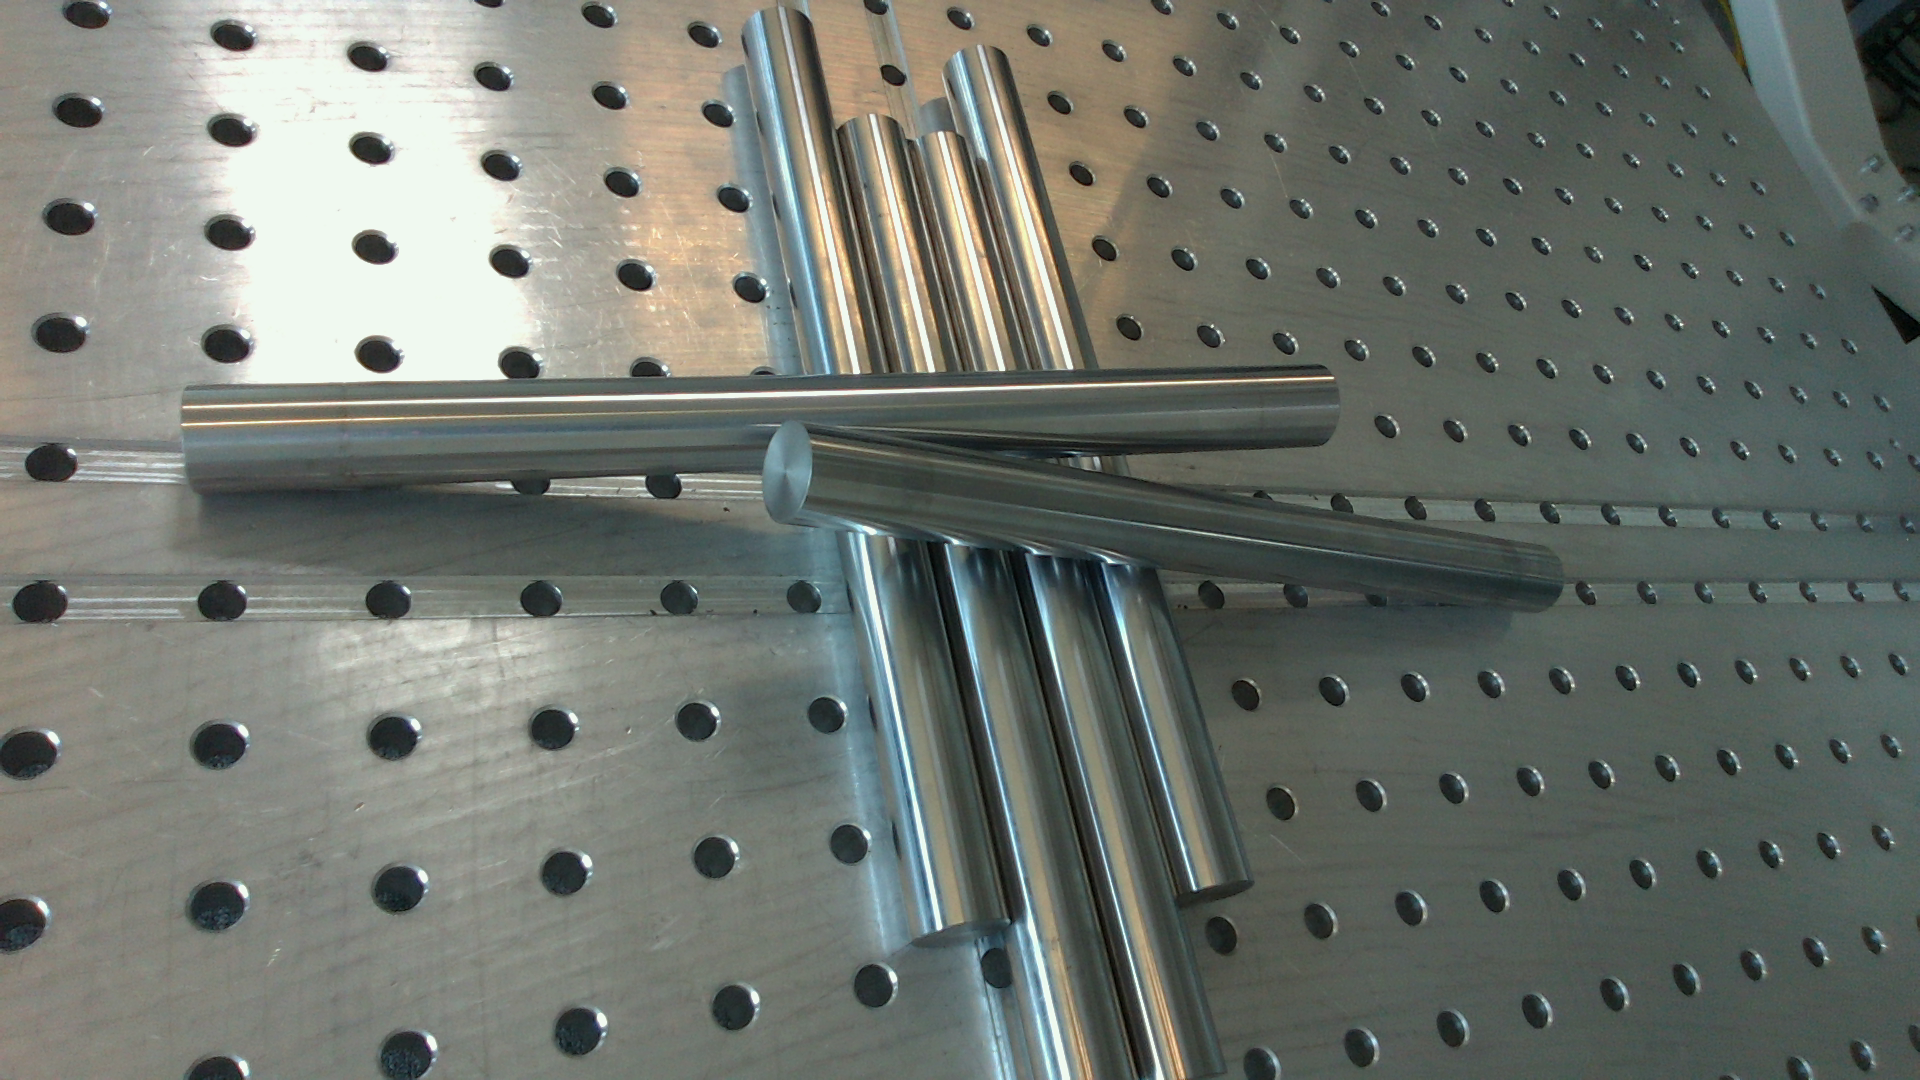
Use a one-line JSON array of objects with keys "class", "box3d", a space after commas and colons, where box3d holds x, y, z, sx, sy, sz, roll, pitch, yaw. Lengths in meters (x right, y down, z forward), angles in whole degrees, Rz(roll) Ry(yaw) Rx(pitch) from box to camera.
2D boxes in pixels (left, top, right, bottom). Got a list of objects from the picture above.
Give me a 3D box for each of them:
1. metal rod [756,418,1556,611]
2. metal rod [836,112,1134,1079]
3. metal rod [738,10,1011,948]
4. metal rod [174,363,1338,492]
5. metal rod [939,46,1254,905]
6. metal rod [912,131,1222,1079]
[{"class": "metal rod", "box3d": [0.080, -0.001, 0.410, 0.301, 0.025, 0.025, 7, 58, -35]}, {"class": "metal rod", "box3d": [-0.001, -0.001, 0.391, 0.025, 0.025, 0.300, 1, 61, -27]}, {"class": "metal rod", "box3d": [-0.031, -0.036, 0.397, 0.025, 0.025, 0.300, 1, 61, -28]}, {"class": "metal rod", "box3d": [-0.035, -0.032, 0.364, 0.301, 0.025, 0.025, -4, 63, -20]}, {"class": "metal rod", "box3d": [0.035, -0.037, 0.433, 0.025, 0.025, 0.300, 1, 61, -28]}, {"class": "metal rod", "box3d": [0.022, 0.002, 0.404, 0.025, 0.025, 0.300, 1, 61, -28]}]
